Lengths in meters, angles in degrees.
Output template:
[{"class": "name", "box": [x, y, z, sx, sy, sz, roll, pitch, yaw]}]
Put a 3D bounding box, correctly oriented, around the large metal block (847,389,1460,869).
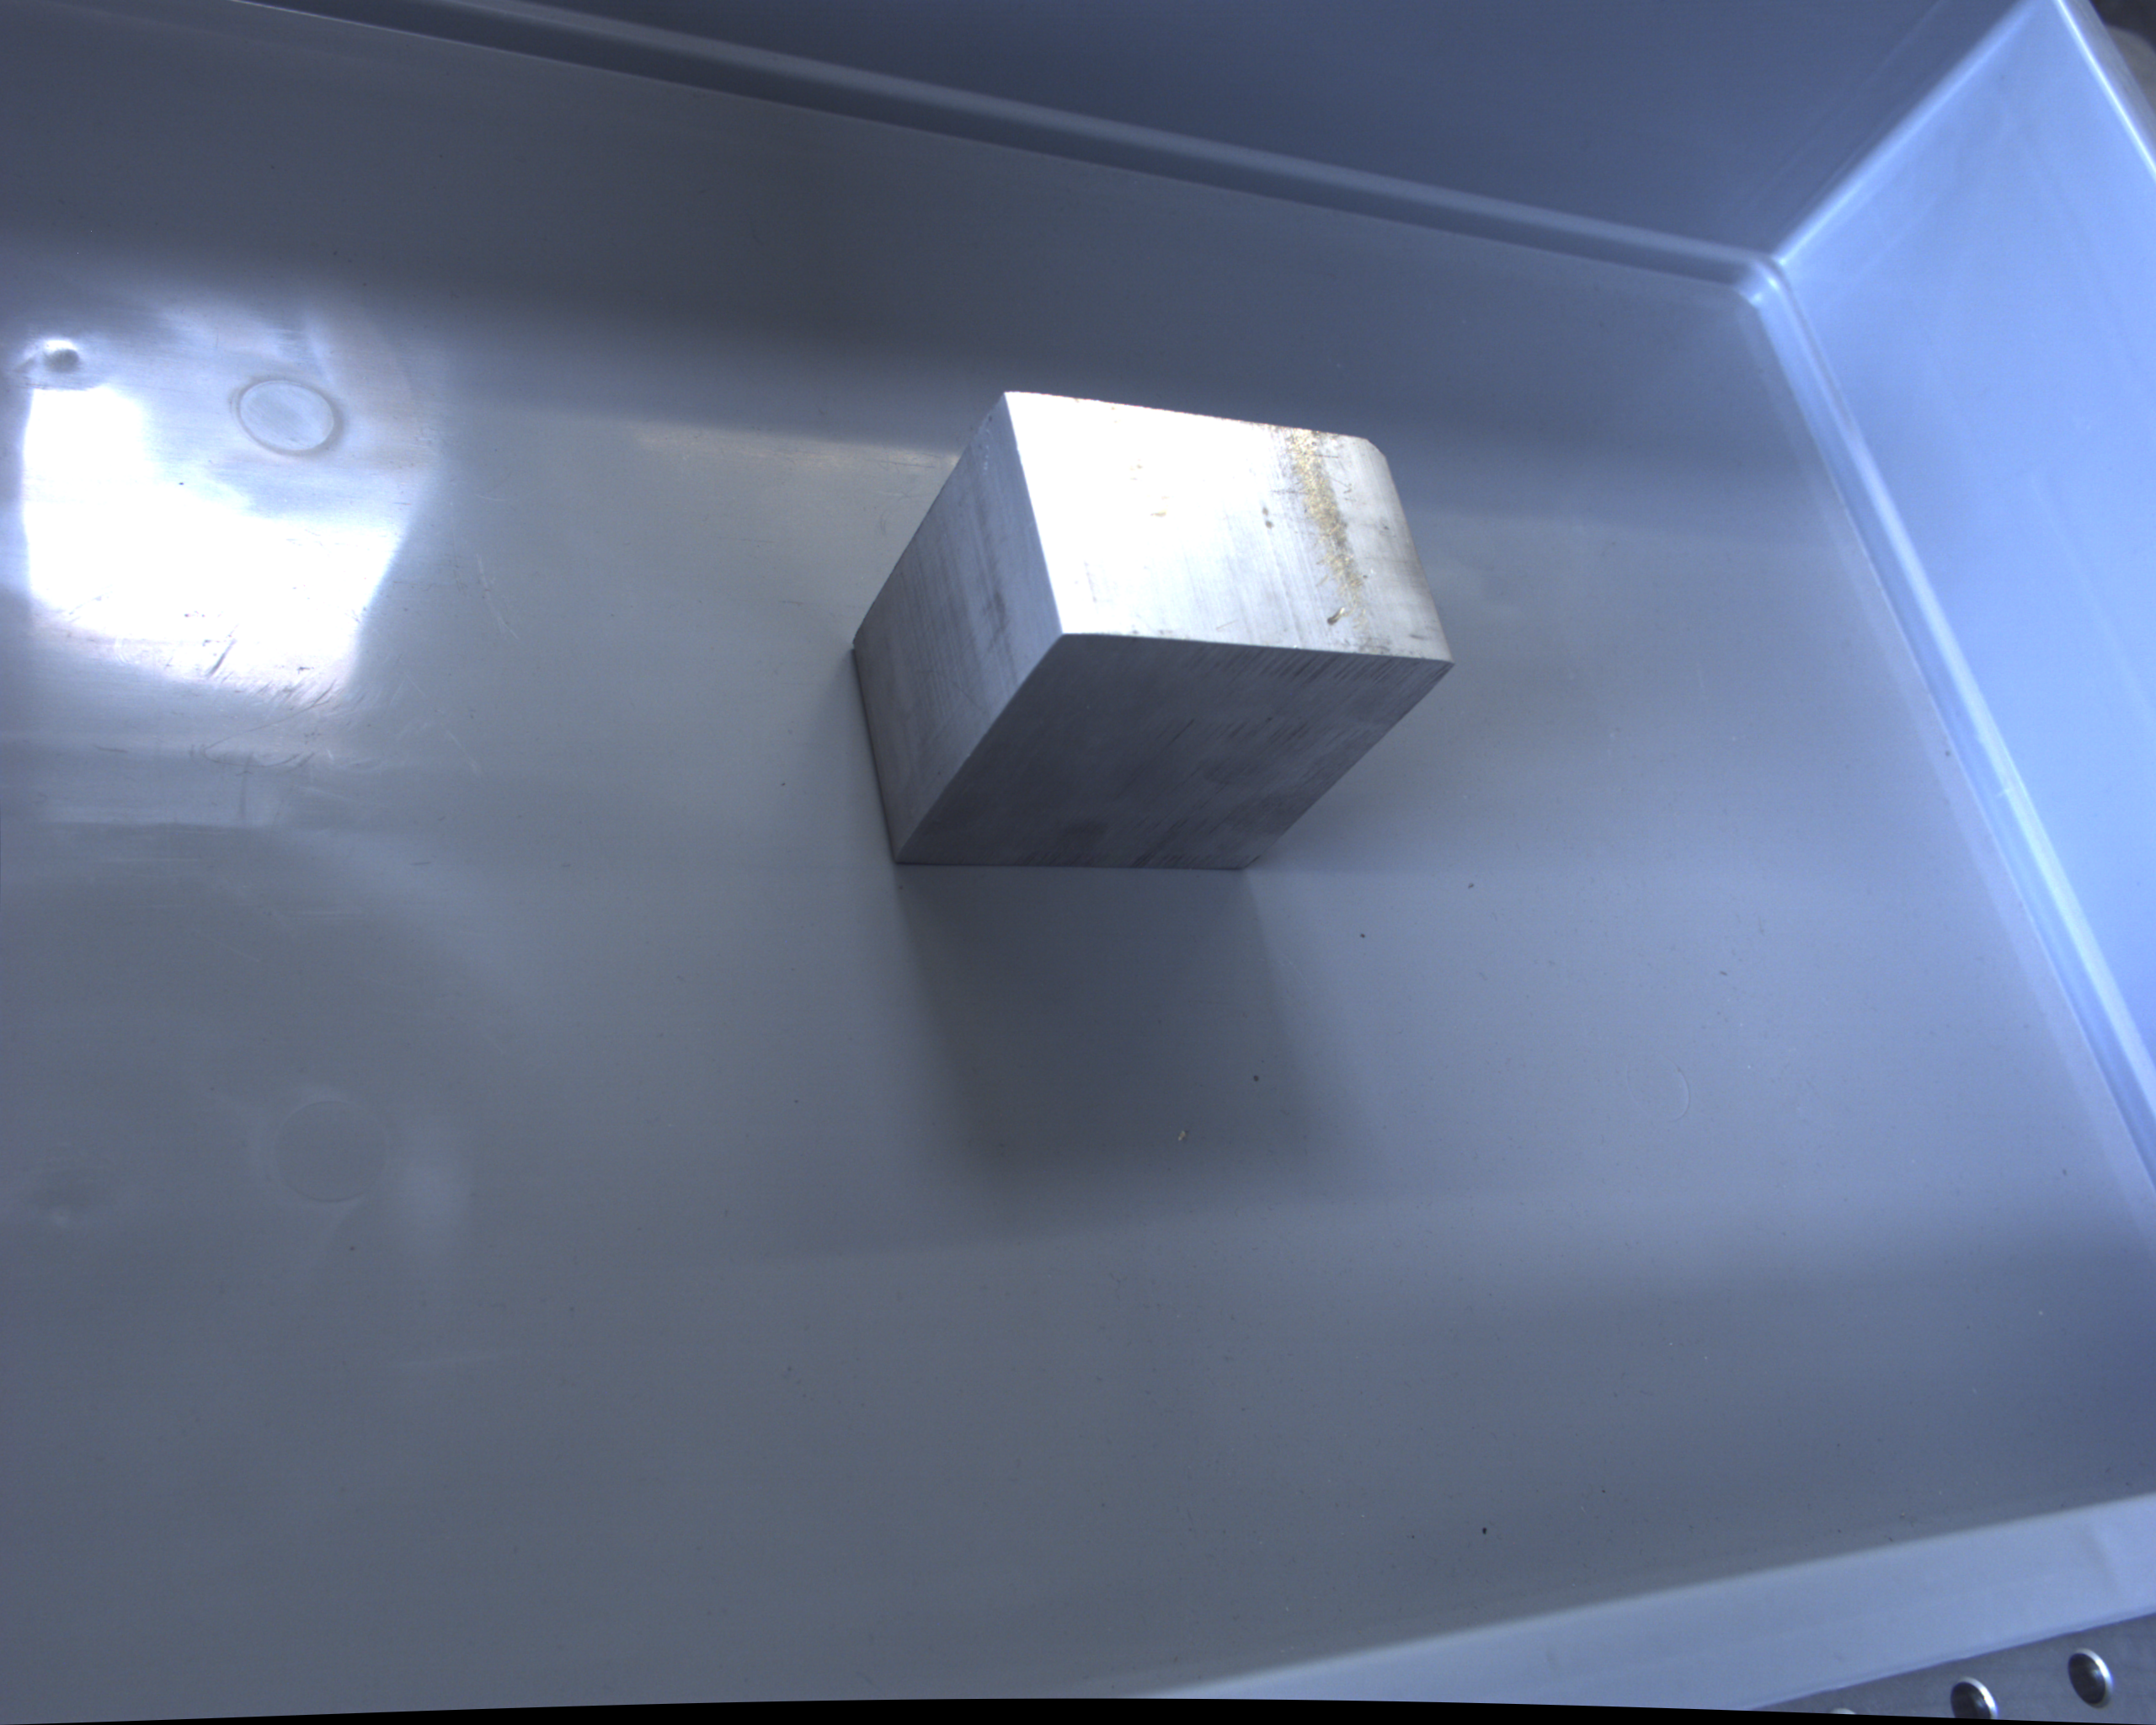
[{"class": "large metal block", "box": [0.011, -0.040, 0.397, 0.081, 0.080, 0.050, 1, 61, -28]}]
